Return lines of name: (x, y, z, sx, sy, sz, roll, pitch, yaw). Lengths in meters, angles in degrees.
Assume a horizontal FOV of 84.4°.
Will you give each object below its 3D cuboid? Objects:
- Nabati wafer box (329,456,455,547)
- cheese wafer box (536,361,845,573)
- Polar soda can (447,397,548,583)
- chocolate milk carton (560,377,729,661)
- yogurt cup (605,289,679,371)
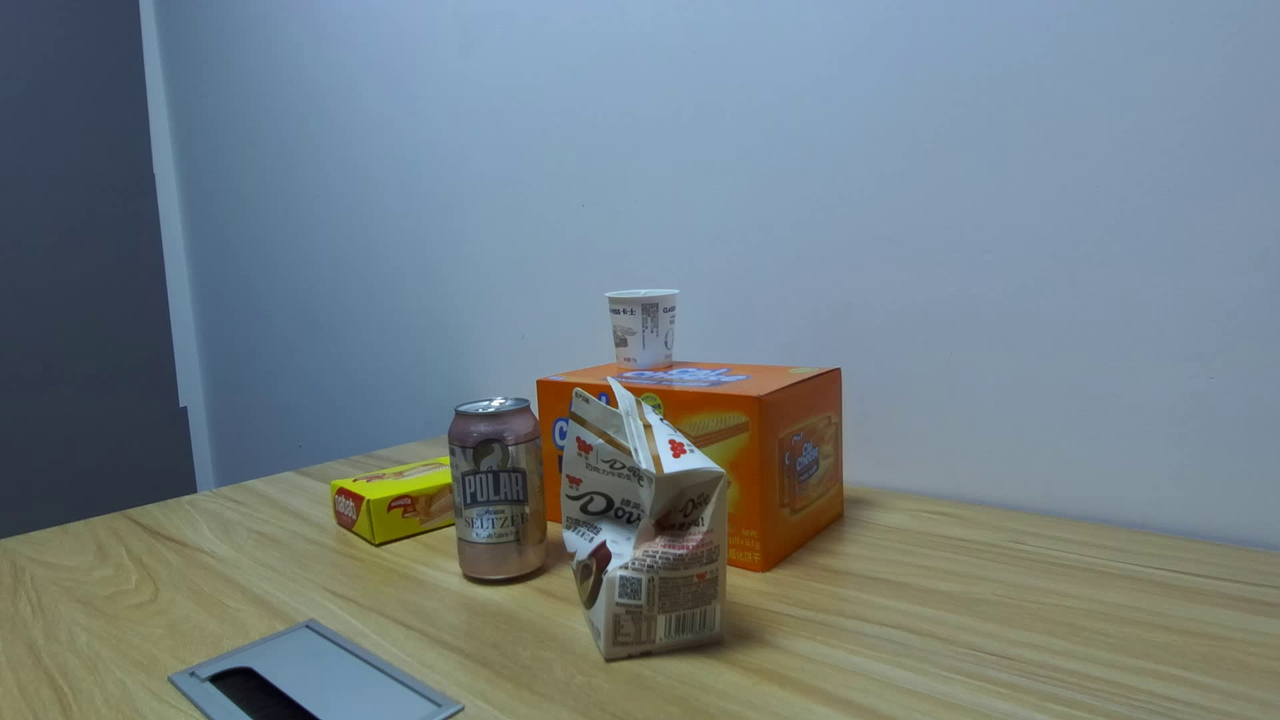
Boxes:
Nabati wafer box: (-0.175, 0.121, 0.674, 0.204, 0.042, 0.096, -7, 6, -40)
cheese wafer box: (0.041, 0.074, 0.601, 0.221, 0.129, 0.149, 3, 9, 37)
Polar soda can: (-0.104, 0.093, 0.520, 0.067, 0.125, 0.067, -3, 7, 1)
chocolate milk carton: (0.000, 0.091, 0.409, 0.077, 0.155, 0.089, -9, 24, -17)
yogurt cup: (0.003, -0.028, 0.660, 0.072, 0.068, 0.072, -2, 9, 1)
